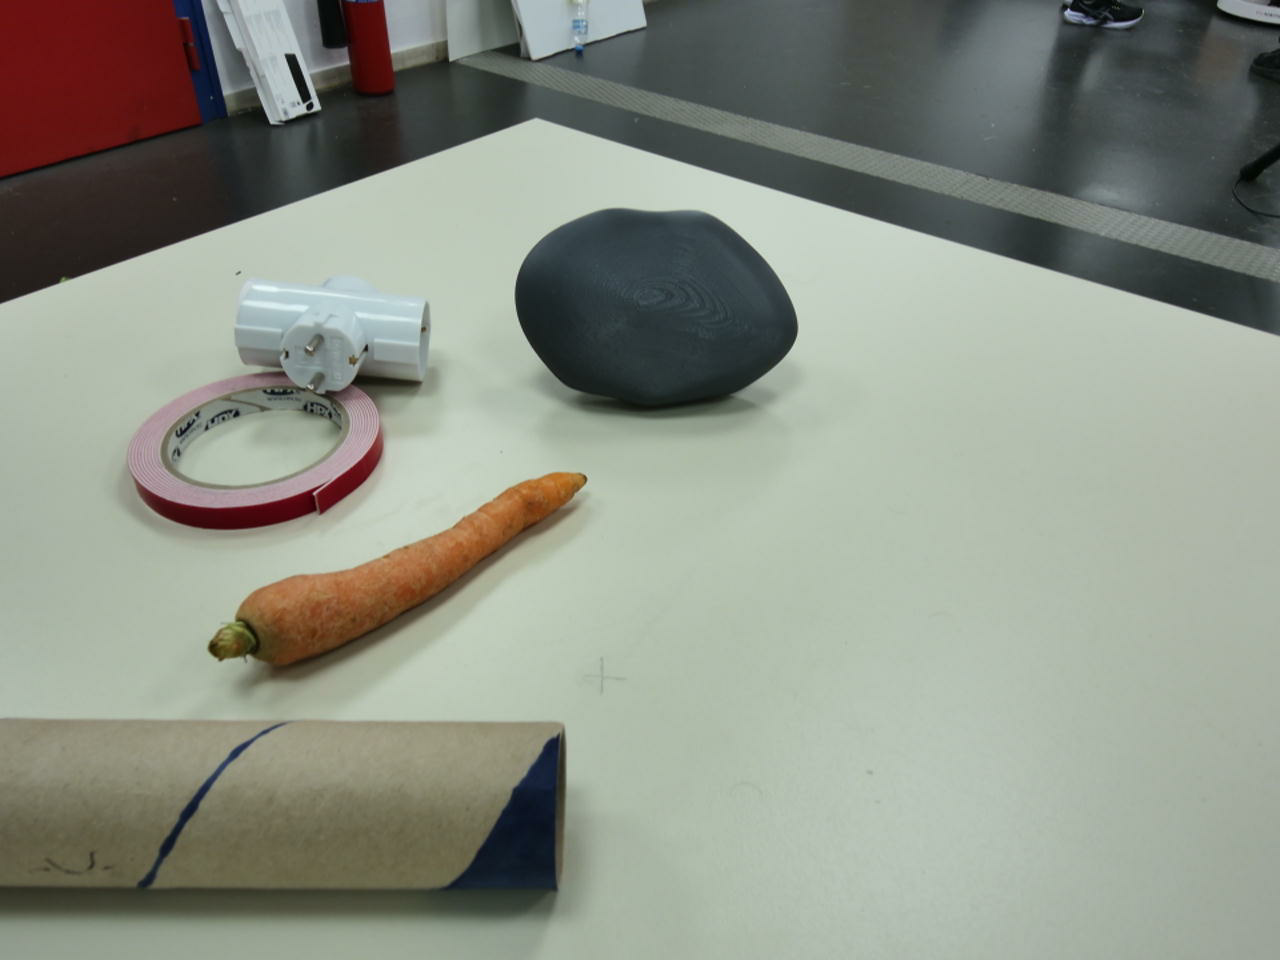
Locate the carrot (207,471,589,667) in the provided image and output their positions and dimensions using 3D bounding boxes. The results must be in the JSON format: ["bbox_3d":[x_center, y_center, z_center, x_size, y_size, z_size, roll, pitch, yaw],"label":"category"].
[{"bbox_3d":[-0.083,0.029,0.390,0.173,0.032,0.030,-28,45,-34],"label":"carrot"}]
